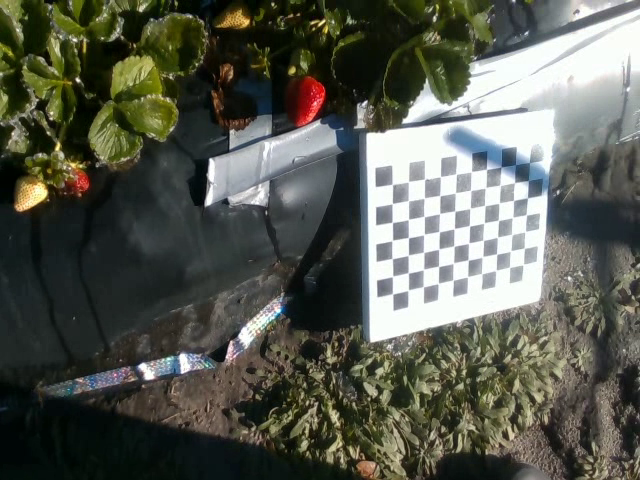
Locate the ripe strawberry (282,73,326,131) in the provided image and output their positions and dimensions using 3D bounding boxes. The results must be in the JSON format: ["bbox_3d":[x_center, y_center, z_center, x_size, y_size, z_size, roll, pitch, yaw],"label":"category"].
[{"bbox_3d":[-0.013,-0.156,0.801,0.061,0.065,0.057,26,-42,-33],"label":"ripe strawberry"}]
